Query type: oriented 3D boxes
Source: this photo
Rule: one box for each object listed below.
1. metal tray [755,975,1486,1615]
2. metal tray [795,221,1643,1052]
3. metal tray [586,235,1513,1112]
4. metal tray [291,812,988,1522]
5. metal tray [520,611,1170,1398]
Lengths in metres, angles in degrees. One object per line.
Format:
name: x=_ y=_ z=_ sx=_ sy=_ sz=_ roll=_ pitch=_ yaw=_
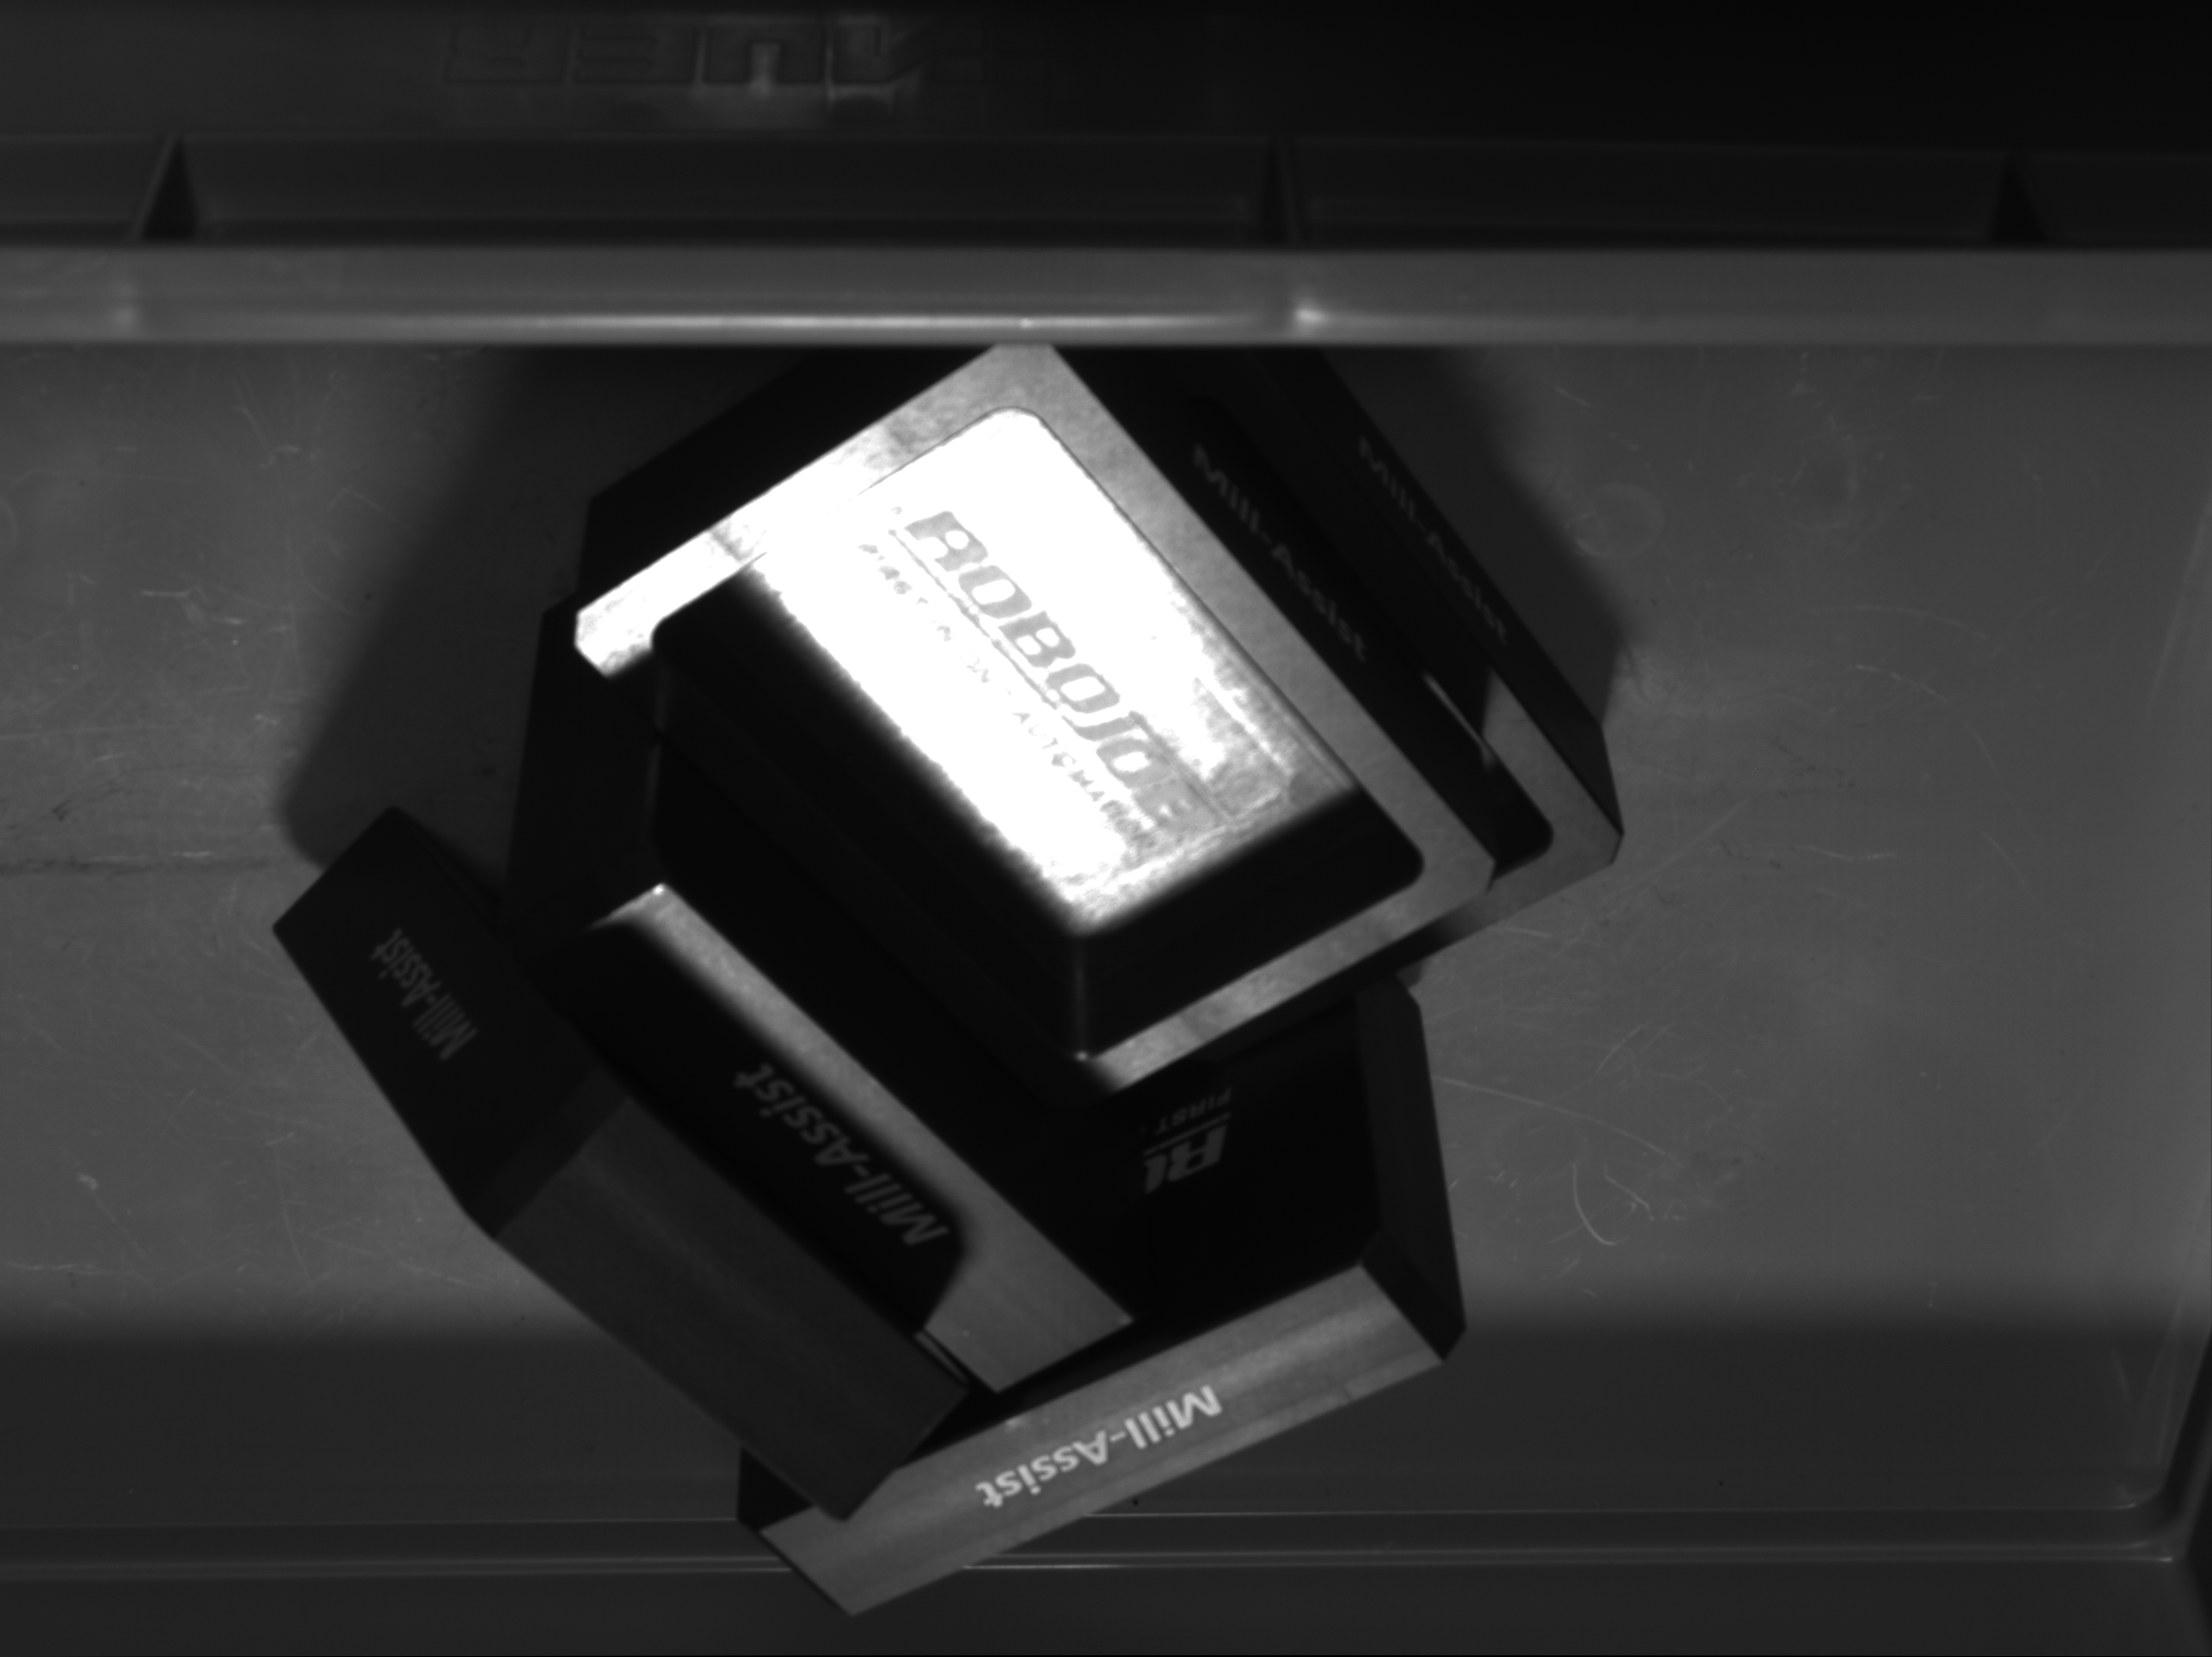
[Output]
metal tray: x=0.000 y=0.077 z=0.659 sx=0.130 sy=0.090 sz=0.030 roll=-26 pitch=126 yaw=19
metal tray: x=0.020 y=-0.028 z=0.613 sx=0.090 sy=0.030 sz=0.130 roll=-26 pitch=125 yaw=21
metal tray: x=-0.007 y=-0.020 z=0.577 sx=0.090 sy=0.030 sz=0.130 roll=-29 pitch=124 yaw=21
metal tray: x=-0.081 y=0.054 z=0.613 sx=0.030 sy=0.130 sz=0.090 roll=-46 pitch=122 yaw=-4
metal tray: x=-0.040 y=0.023 z=0.612 sx=0.030 sy=0.090 sz=0.130 roll=-29 pitch=125 yaw=21
